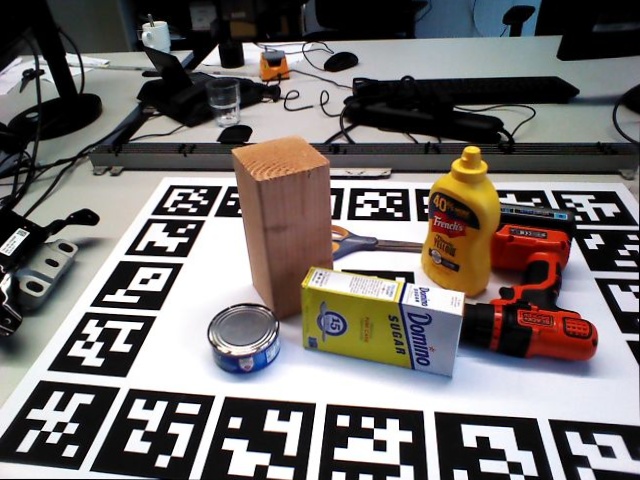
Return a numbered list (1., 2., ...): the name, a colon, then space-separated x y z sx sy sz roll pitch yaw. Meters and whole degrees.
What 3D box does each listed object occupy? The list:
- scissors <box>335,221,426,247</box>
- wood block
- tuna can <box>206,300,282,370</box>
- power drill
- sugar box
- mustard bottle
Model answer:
1. scissors: 0.058 -0.005 0.758 0.203 0.016 0.087 2 34 9
2. wood block: -0.038 -0.013 0.639 0.091 0.207 0.090 -17 40 -15
3. tuna can: -0.087 0.109 0.606 0.086 0.034 0.085 -3 38 2
4. power drill: 0.229 0.051 0.633 0.185 0.057 0.185 9 47 18
5. sugar box: 0.077 0.088 0.575 0.177 0.093 0.045 10 37 16
6. mustard bottle: 0.184 -0.027 0.643 0.058 0.192 0.096 -26 43 -24
